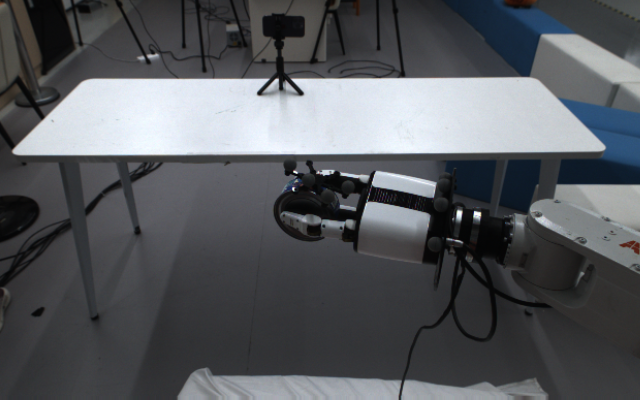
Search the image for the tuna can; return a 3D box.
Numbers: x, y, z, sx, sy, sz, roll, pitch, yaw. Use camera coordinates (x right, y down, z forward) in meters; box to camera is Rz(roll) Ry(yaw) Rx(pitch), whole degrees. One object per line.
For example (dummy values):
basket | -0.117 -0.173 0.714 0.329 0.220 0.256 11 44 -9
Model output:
tuna can | -0.016 0.013 0.655 0.085 0.085 0.034 9 35 10
